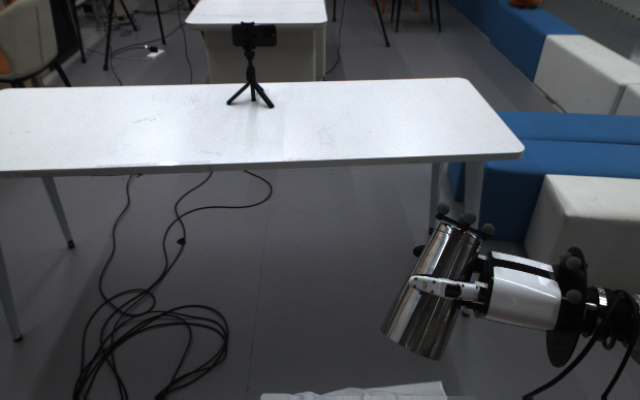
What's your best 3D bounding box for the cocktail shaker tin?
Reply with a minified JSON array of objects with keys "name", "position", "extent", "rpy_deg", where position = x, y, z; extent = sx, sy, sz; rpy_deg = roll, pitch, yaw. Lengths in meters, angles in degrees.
[{"name":"cocktail shaker tin","position":[0.162,0.118,0.670],"extent":[0.093,0.170,0.093],"rpy_deg":[23,0,0]}]
